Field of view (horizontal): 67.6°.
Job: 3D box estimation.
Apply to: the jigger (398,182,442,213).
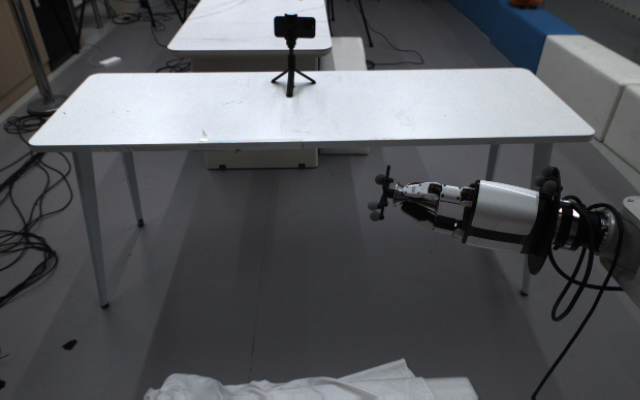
[{"bbox_3d":[0.158,-0.008,0.757,0.071,0.043,0.043,10,35,15],"label":"jigger"}]
